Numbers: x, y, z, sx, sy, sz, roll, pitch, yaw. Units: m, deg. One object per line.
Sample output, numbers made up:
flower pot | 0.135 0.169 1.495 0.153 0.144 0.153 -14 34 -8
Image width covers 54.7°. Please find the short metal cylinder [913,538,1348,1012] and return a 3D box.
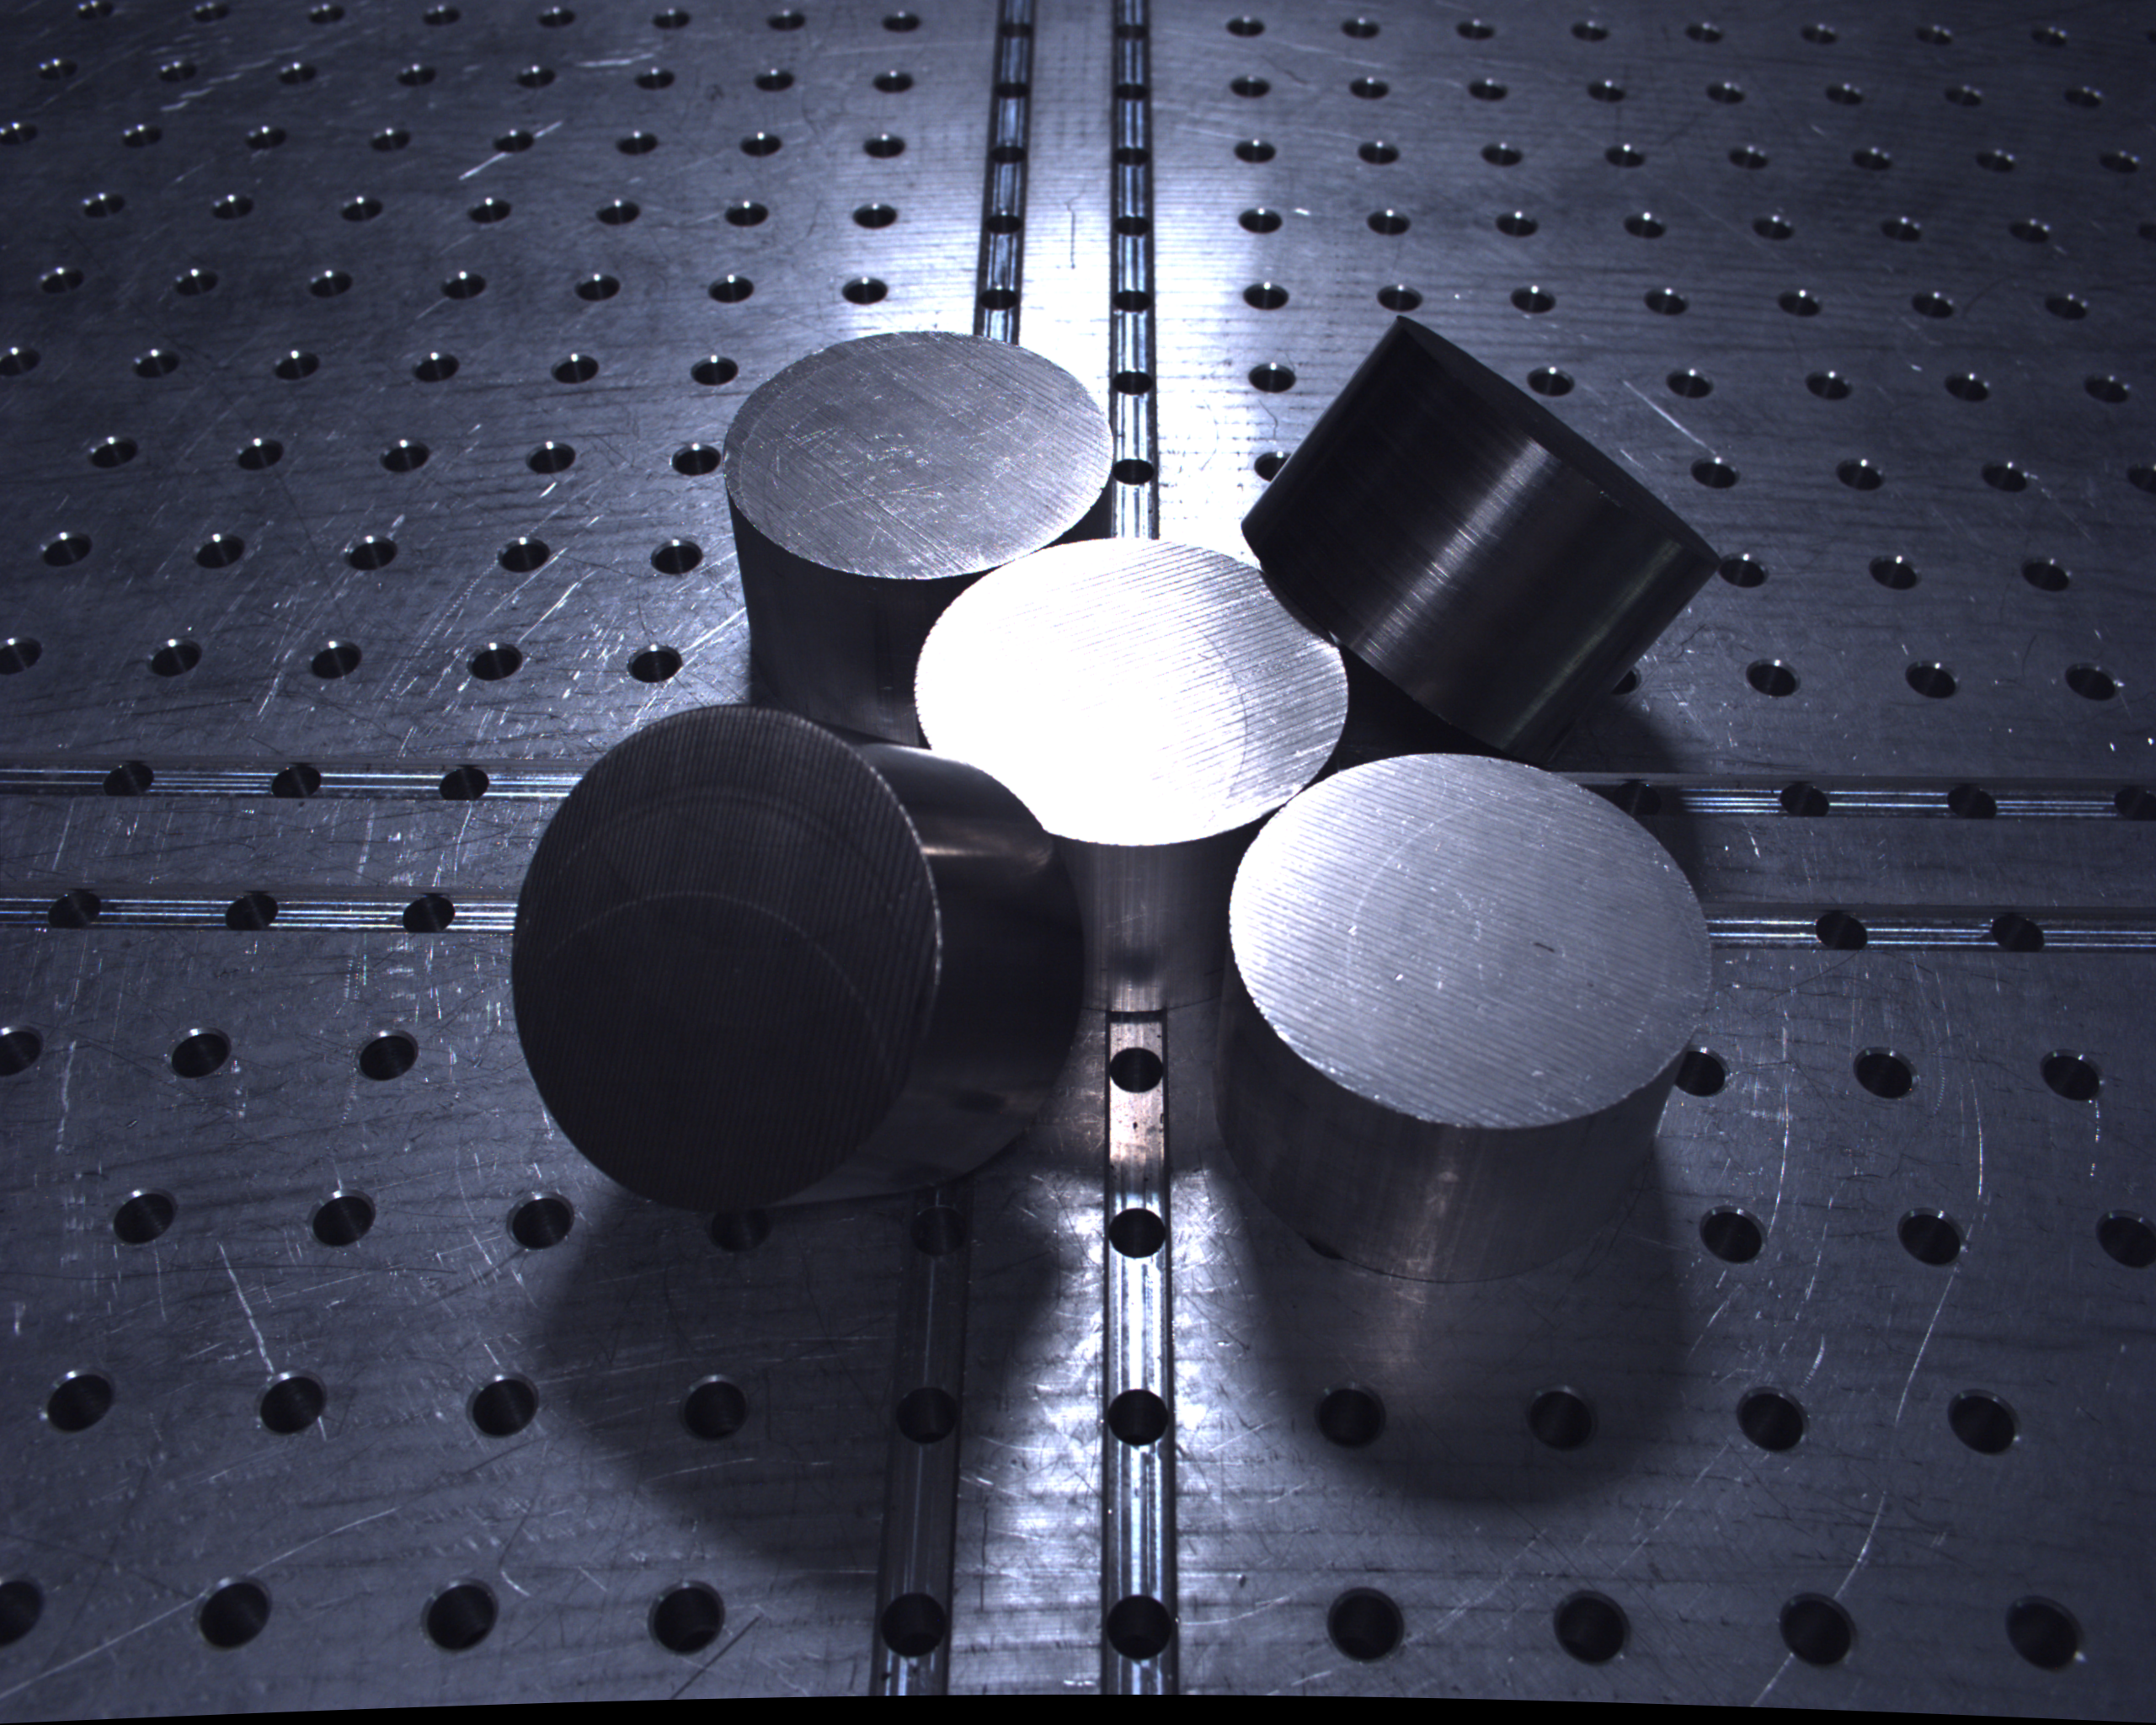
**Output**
short metal cylinder | 0.010 -0.018 0.406 0.081 0.050 0.080 0 50 0

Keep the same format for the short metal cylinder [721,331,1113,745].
short metal cylinder | -0.033 -0.070 0.449 0.081 0.050 0.080 0 50 0

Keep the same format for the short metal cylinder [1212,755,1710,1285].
short metal cylinder | 0.065 0.027 0.369 0.081 0.050 0.080 0 50 0

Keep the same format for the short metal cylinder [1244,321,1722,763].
short metal cylinder | 0.081 -0.065 0.420 0.080 0.050 0.080 32 21 -14

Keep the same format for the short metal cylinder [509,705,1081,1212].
short metal cylinder | -0.047 0.017 0.350 0.080 0.050 0.080 -3 84 25
